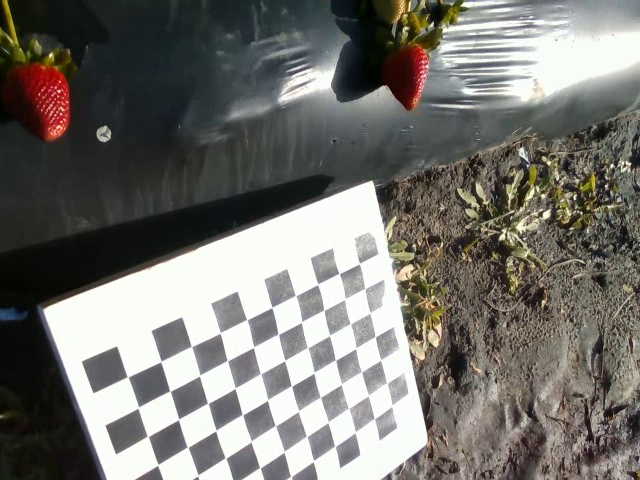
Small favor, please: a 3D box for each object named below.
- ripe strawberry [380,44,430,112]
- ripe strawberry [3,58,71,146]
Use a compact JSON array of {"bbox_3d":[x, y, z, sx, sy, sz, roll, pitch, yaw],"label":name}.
[{"bbox_3d":[0.067,-0.126,0.489,0.042,0.059,0.042,3,-9,-41],"label":"ripe strawberry"},{"bbox_3d":[-0.161,-0.078,0.360,0.045,0.055,0.041,-15,-18,-40],"label":"ripe strawberry"}]
